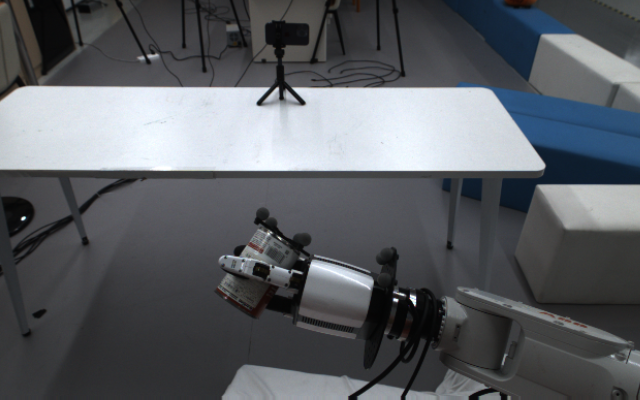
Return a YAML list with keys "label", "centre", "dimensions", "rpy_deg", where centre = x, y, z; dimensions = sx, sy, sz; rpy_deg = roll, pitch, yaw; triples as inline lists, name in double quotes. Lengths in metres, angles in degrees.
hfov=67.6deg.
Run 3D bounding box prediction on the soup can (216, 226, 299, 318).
- label: "soup can"
  centre: [-0.079, 0.095, 0.630]
  dimensions: [0.067, 0.067, 0.101]
  rpy_deg: [26, 76, 31]
